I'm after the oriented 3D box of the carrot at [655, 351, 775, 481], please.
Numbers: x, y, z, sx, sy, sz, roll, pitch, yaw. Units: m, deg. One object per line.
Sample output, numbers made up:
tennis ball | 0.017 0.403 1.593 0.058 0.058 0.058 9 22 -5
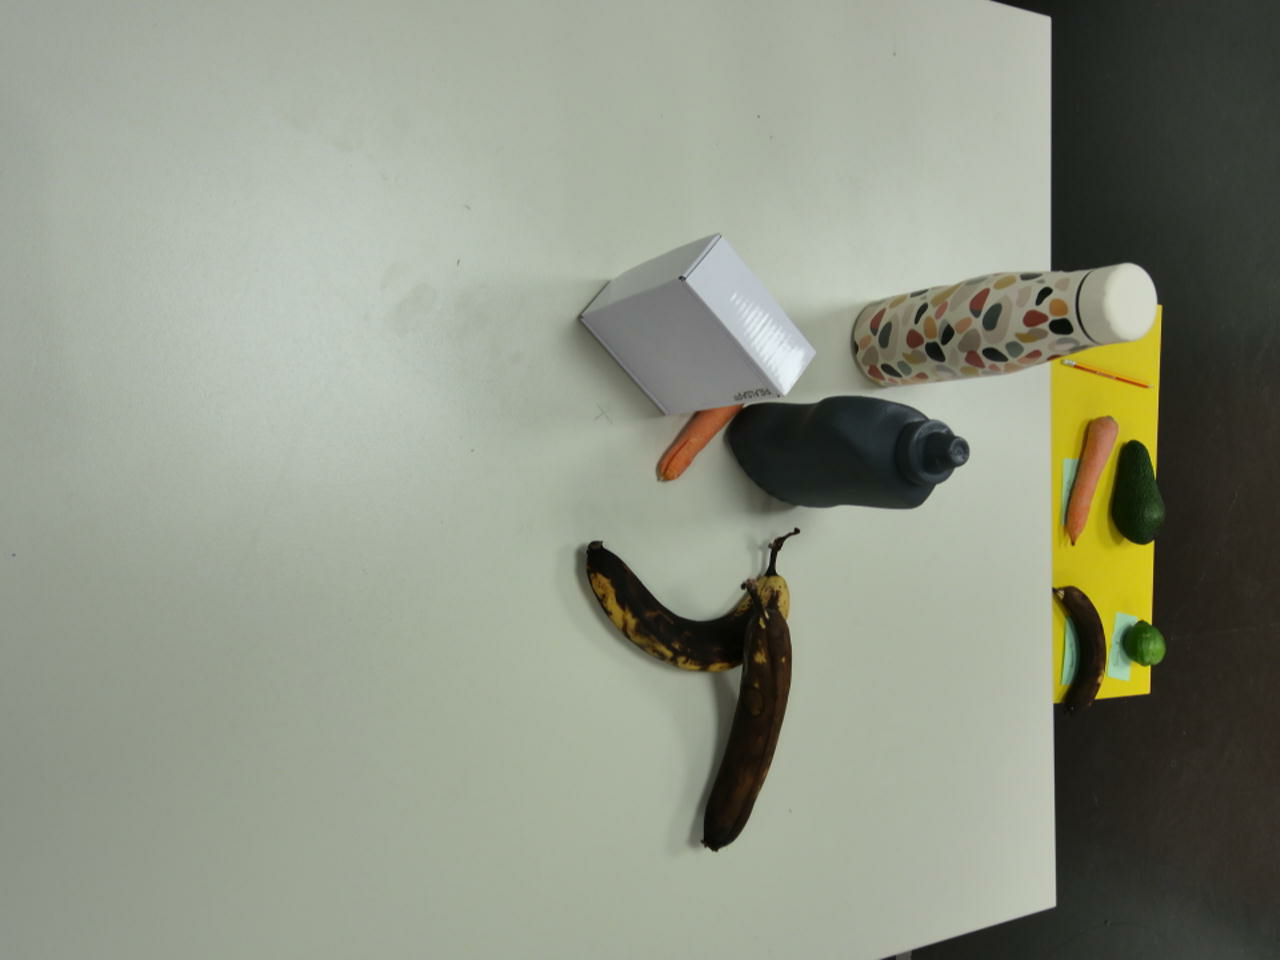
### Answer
carrot | 0.057 -0.051 0.760 0.030 0.032 0.136 48 69 -20
